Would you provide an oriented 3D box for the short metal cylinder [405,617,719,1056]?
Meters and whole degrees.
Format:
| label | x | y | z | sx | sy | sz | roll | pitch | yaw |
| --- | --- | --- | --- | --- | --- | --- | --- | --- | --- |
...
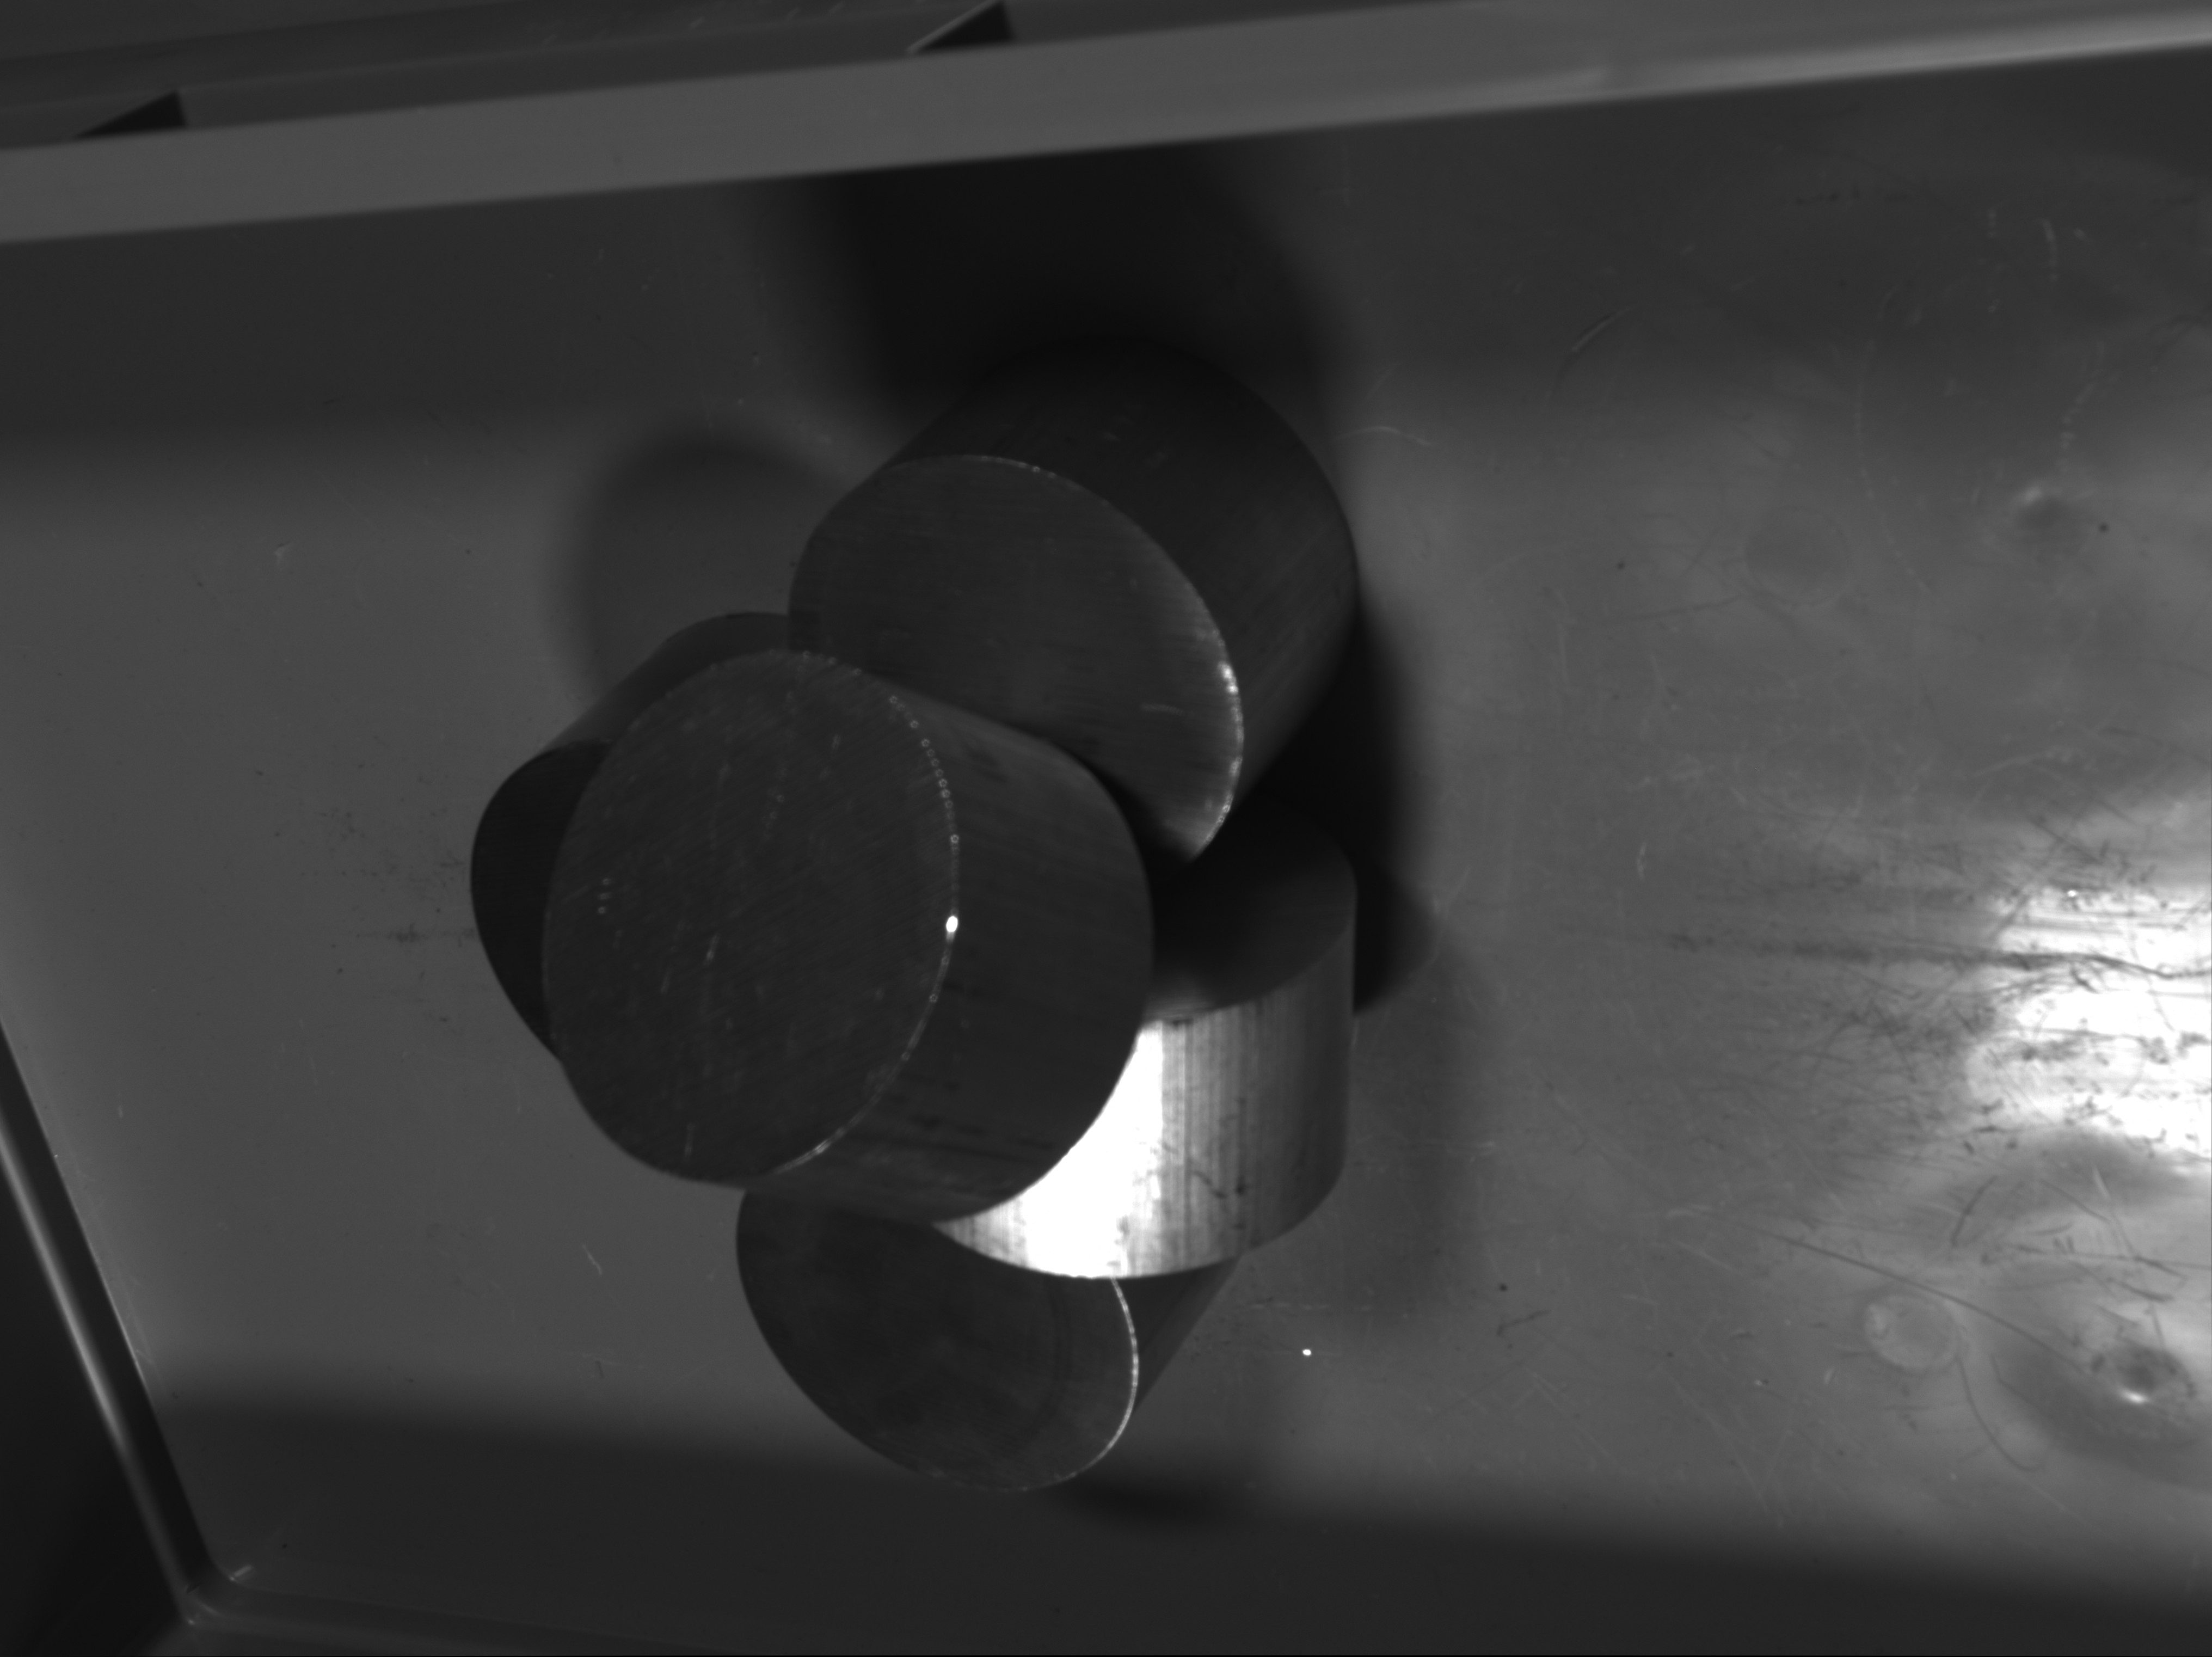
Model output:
| label | x | y | z | sx | sy | sz | roll | pitch | yaw |
| --- | --- | --- | --- | --- | --- | --- | --- | --- | --- |
| short metal cylinder | -0.078 | 0.009 | 0.657 | 0.080 | 0.050 | 0.080 | 12 | 123 | 20 |

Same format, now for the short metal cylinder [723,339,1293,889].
| label | x | y | z | sx | sy | sz | roll | pitch | yaw |
| --- | --- | --- | --- | --- | --- | --- | --- | --- | --- |
| short metal cylinder | -0.016 | -0.034 | 0.601 | 0.080 | 0.050 | 0.080 | 12 | 123 | 20 |

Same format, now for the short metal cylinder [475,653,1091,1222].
| label | x | y | z | sx | sy | sz | roll | pitch | yaw |
| --- | --- | --- | --- | --- | --- | --- | --- | --- | --- |
| short metal cylinder | -0.049 | 0.018 | 0.560 | 0.080 | 0.050 | 0.080 | -9 | 74 | 32 |

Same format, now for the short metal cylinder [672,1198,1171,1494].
| label | x | y | z | sx | sy | sz | roll | pitch | yaw |
| --- | --- | --- | --- | --- | --- | --- | --- | --- | --- |
| short metal cylinder | -0.032 | 0.075 | 0.674 | 0.080 | 0.050 | 0.080 | 12 | 123 | 20 |

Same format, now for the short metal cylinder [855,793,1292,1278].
| label | x | y | z | sx | sy | sz | roll | pitch | yaw |
| --- | --- | --- | --- | --- | --- | --- | --- | --- | --- |
| short metal cylinder | -0.009 | 0.031 | 0.619 | 0.080 | 0.080 | 0.050 | 13 | 123 | 20 |
